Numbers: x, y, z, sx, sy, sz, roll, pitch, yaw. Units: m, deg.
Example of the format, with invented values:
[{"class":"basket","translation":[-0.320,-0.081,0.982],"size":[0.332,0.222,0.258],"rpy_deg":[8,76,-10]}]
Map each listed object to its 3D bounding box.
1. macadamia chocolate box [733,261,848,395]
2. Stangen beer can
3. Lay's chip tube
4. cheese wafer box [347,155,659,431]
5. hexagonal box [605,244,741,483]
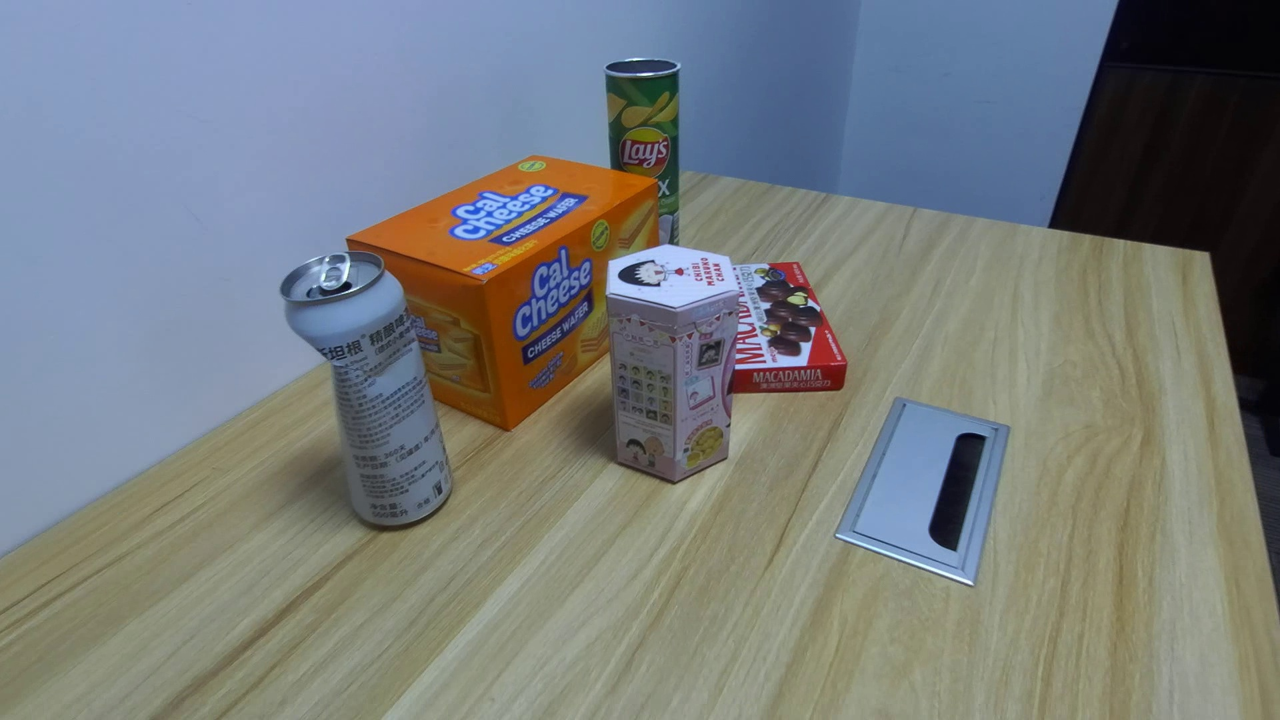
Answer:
[{"class":"macadamia chocolate box","translation":[0.113,-0.033,0.622],"size":[0.095,0.027,0.177],"rpy_deg":[-3,34,1]},{"class":"Stangen beer can","translation":[-0.163,0.022,0.424],"size":[0.069,0.173,0.070],"rpy_deg":[6,34,14]},{"class":"Lay's chip tube","translation":[0.006,-0.183,0.691],"size":[0.071,0.203,0.071],"rpy_deg":[-2,35,2]},{"class":"cheese wafer box","translation":[-0.099,-0.070,0.599],"size":[0.147,0.129,0.222],"rpy_deg":[19,39,28]},{"class":"hexagonal box","translation":[0.023,0.003,0.472],"size":[0.084,0.136,0.091],"rpy_deg":[-3,34,0]}]
